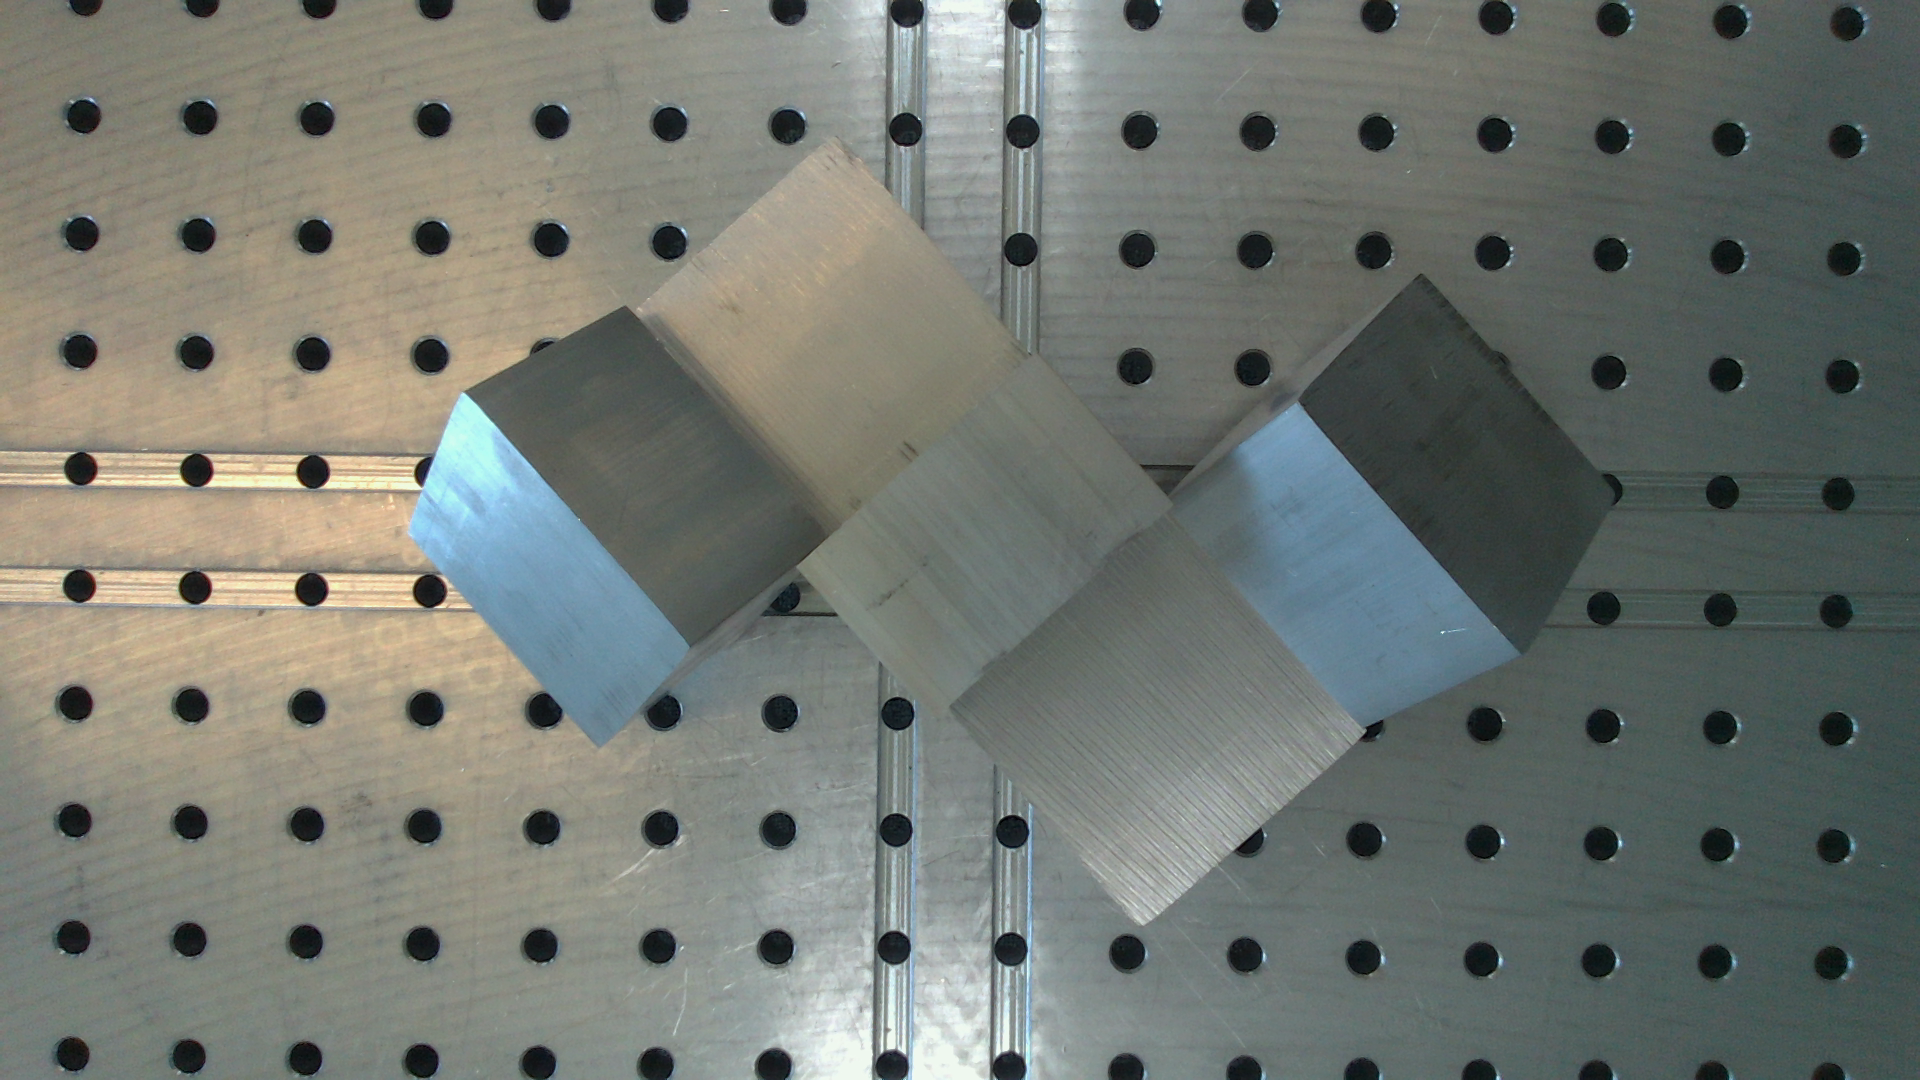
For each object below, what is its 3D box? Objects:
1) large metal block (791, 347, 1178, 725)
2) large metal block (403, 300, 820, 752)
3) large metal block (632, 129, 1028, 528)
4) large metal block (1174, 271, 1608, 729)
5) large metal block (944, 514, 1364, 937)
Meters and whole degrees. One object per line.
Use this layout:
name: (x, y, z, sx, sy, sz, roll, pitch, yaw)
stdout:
large metal block: (0.006, -0.002, 0.370, 0.080, 0.080, 0.050, -42, 91, 0)
large metal block: (-0.093, -0.001, 0.362, 0.080, 0.080, 0.050, 49, 51, 0)
large metal block: (-0.036, -0.051, 0.384, 0.080, 0.050, 0.080, -42, 91, 1)
large metal block: (0.114, -0.012, 0.364, 0.080, 0.050, 0.080, 49, 50, -1)
large metal block: (0.050, 0.048, 0.385, 0.080, 0.050, 0.080, -41, 89, 0)
